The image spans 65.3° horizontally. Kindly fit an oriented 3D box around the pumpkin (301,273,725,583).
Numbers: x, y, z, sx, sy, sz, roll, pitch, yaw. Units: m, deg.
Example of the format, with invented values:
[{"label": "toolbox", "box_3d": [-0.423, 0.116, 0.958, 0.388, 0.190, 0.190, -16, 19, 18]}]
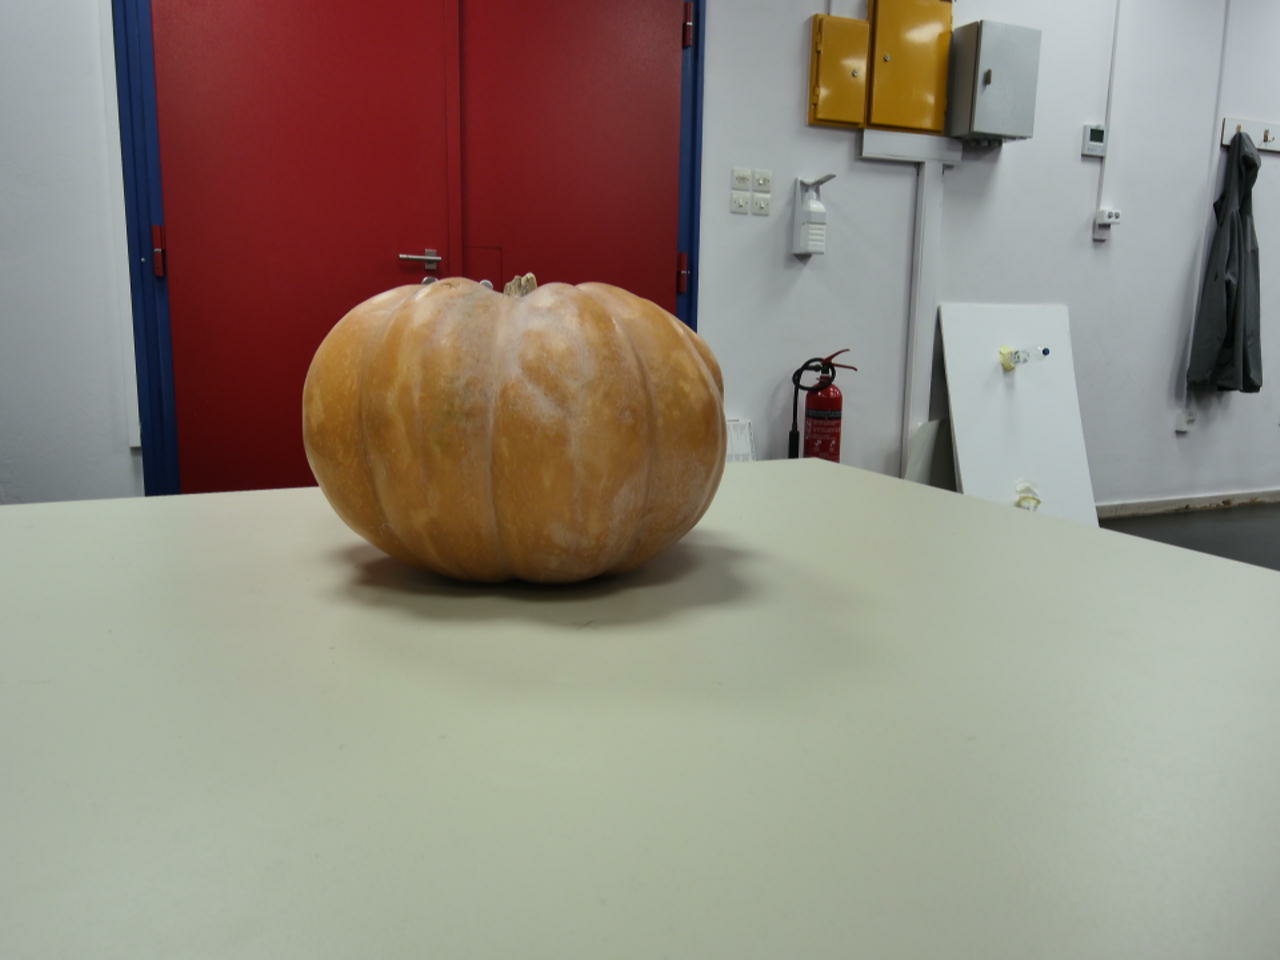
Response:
[{"label": "pumpkin", "box_3d": [-0.073, -0.035, 0.616, 0.277, 0.181, 0.277, 1, 8, 0]}]
